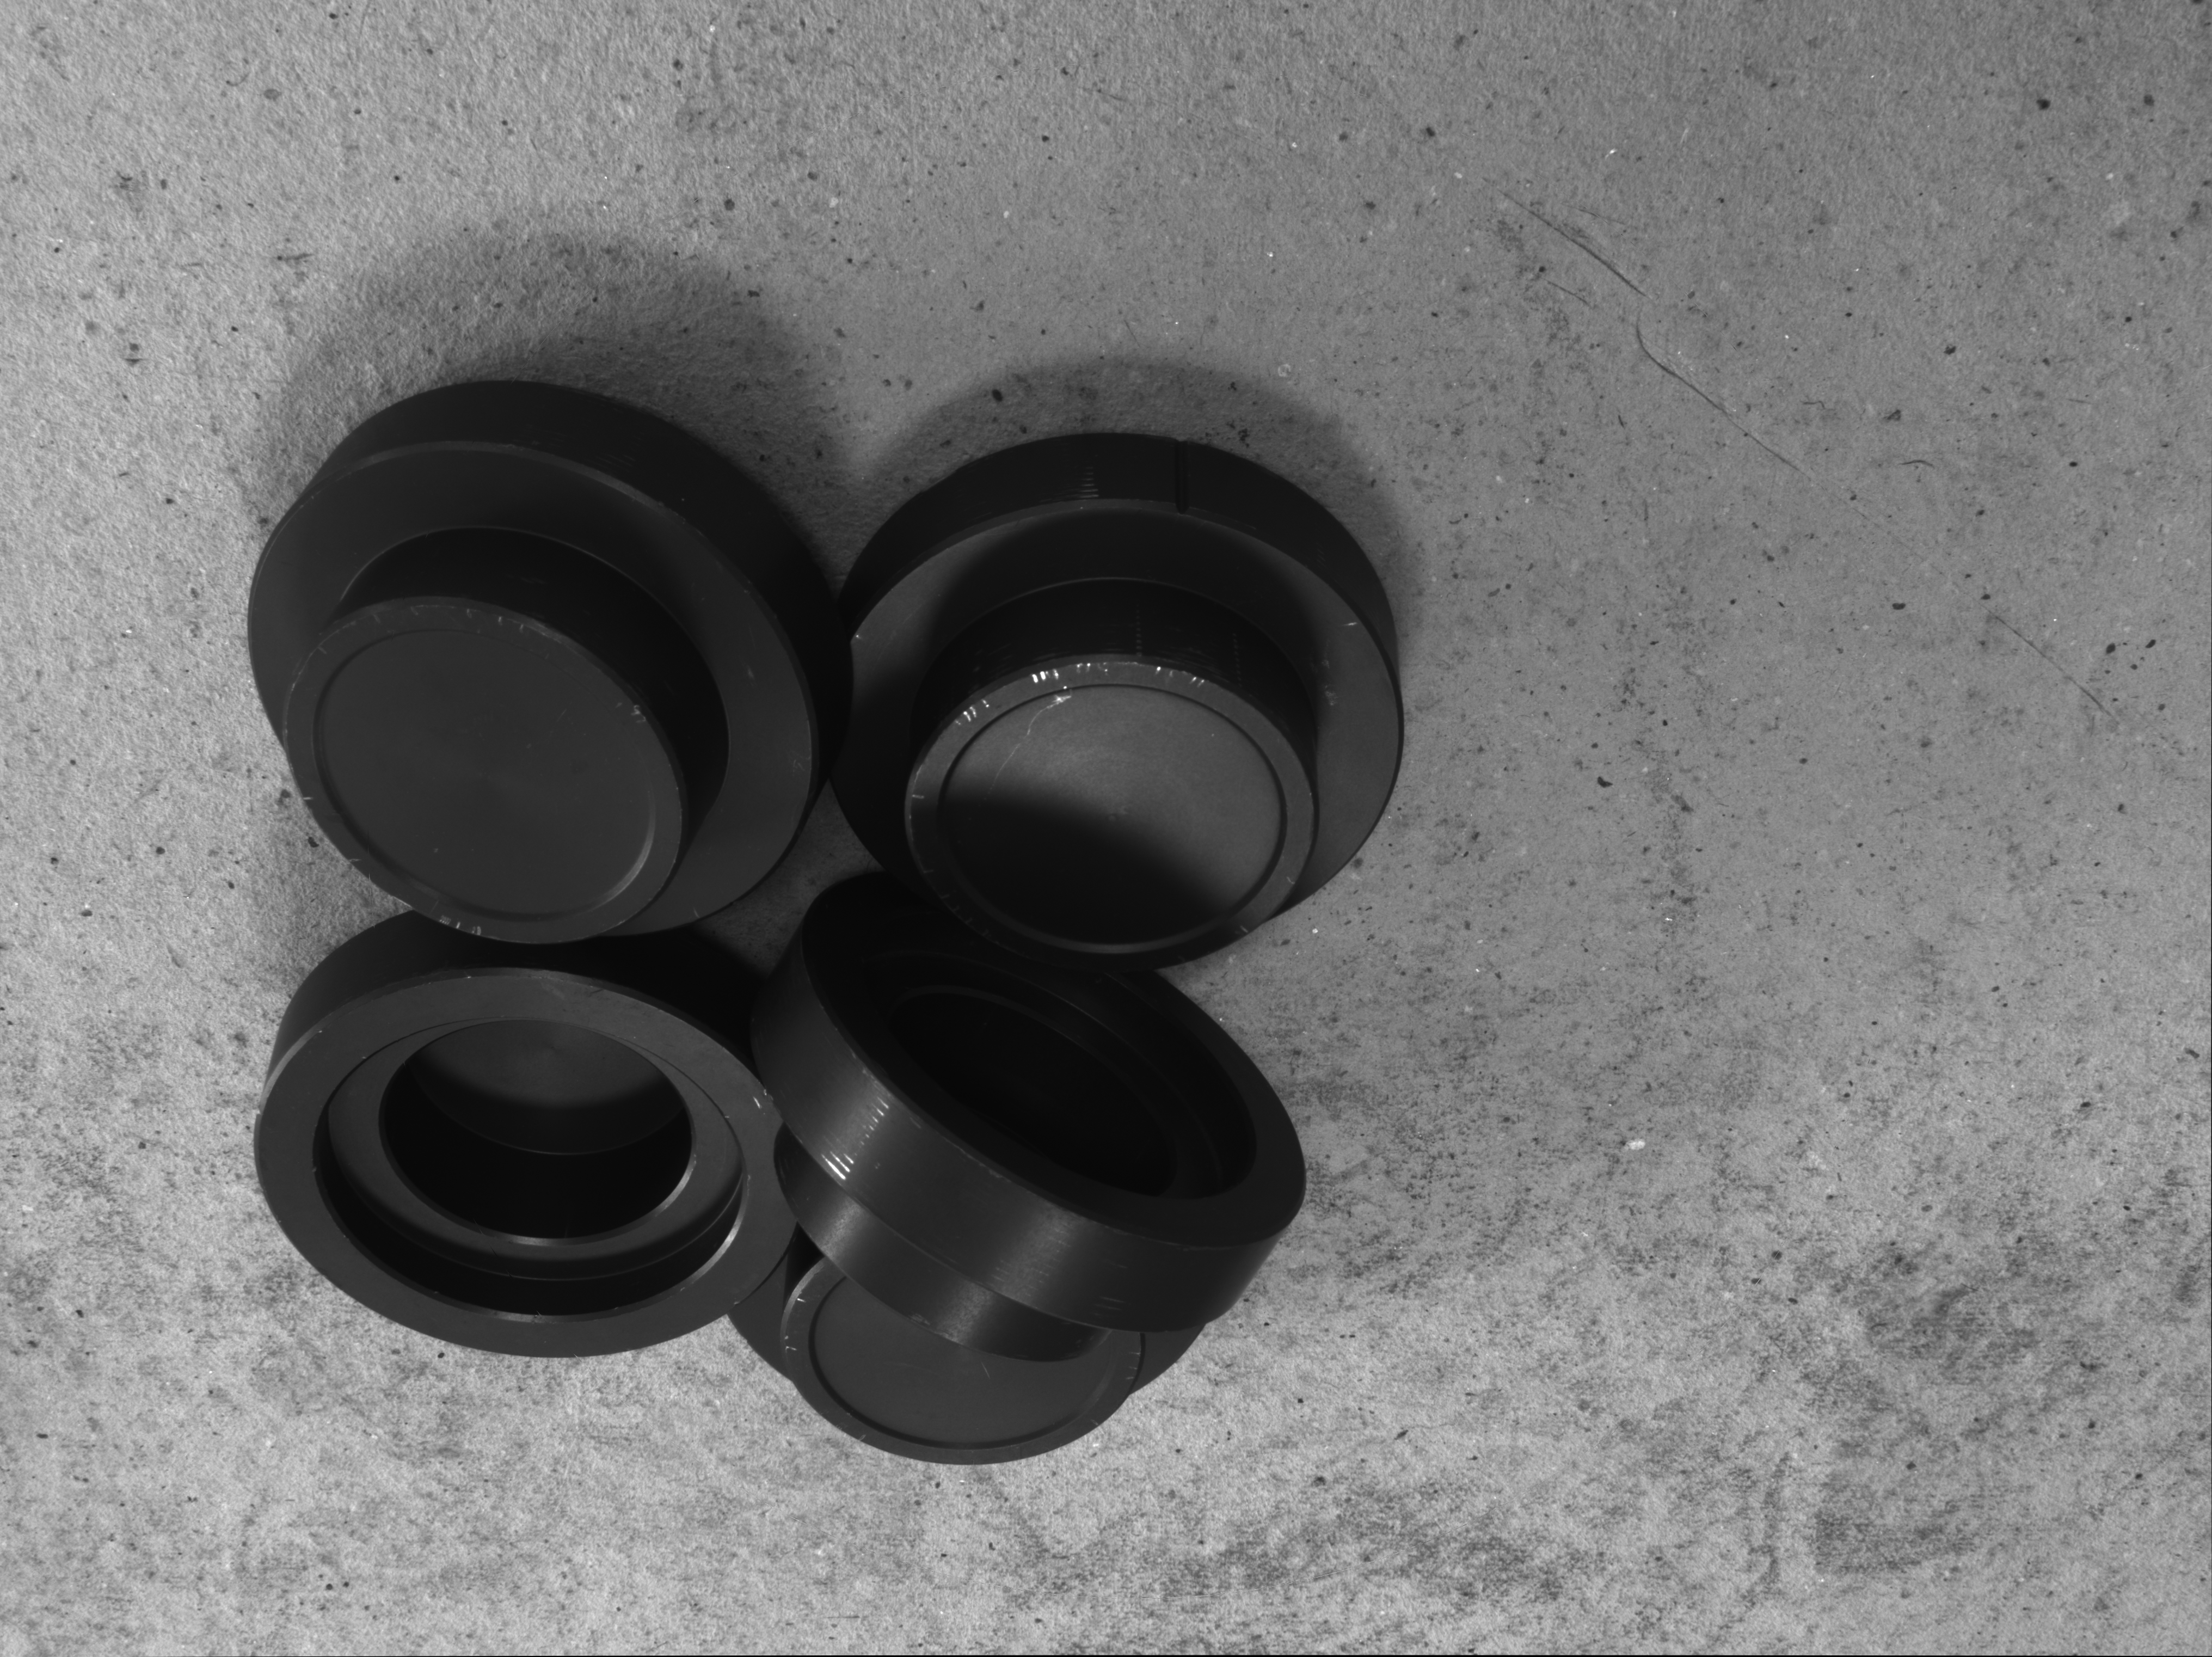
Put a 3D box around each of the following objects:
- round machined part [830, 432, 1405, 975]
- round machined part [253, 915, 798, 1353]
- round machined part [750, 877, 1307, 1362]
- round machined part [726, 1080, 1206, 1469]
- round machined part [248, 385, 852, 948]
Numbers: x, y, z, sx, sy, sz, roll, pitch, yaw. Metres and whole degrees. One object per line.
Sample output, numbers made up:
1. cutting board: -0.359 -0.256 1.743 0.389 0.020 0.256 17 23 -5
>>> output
1. round machined part: 0.001 -0.014 0.616 0.098 0.042 0.098 -1 129 0
2. round machined part: -0.102 0.048 0.668 0.098 0.042 0.098 0 131 0
3. round machined part: -0.018 0.054 0.633 0.098 0.098 0.042 23 113 -18
4. round machined part: -0.026 0.084 0.698 0.098 0.042 0.098 -1 128 -1
5. round machined part: -0.094 -0.020 0.598 0.098 0.042 0.098 8 129 11
